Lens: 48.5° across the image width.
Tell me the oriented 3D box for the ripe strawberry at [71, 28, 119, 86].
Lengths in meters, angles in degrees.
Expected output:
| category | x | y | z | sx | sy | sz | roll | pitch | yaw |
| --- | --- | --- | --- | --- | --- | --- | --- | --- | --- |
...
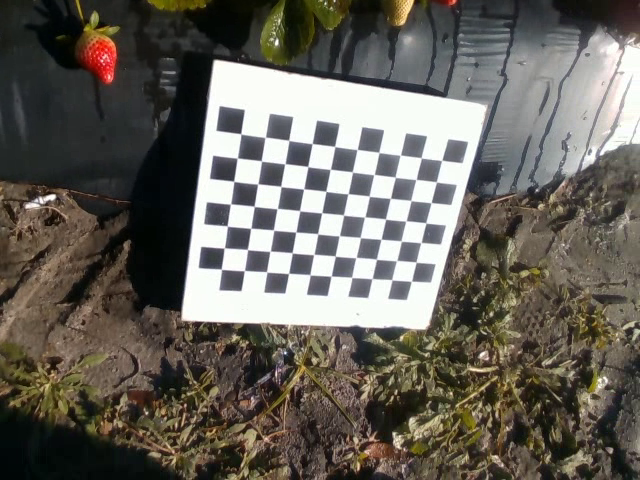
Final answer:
| category | x | y | z | sx | sy | sz | roll | pitch | yaw |
| --- | --- | --- | --- | --- | --- | --- | --- | --- | --- |
| ripe strawberry | -0.189 | -0.153 | 0.605 | 0.039 | 0.053 | 0.041 | -17 | 9 | -9 |
